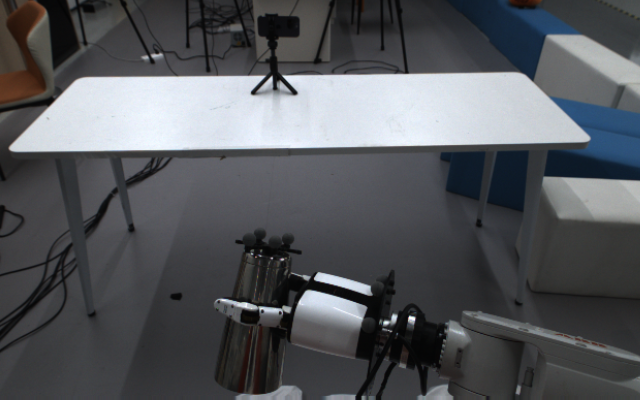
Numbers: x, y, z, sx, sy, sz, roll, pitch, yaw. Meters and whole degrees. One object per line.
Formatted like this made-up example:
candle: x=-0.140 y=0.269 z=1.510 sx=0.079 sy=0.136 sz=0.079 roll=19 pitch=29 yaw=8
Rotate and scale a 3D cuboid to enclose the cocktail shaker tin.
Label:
cocktail shaker tin: x=-0.081 y=0.154 z=0.641 sx=0.093 sy=0.170 sz=0.093 roll=9 pitch=3 yaw=0
